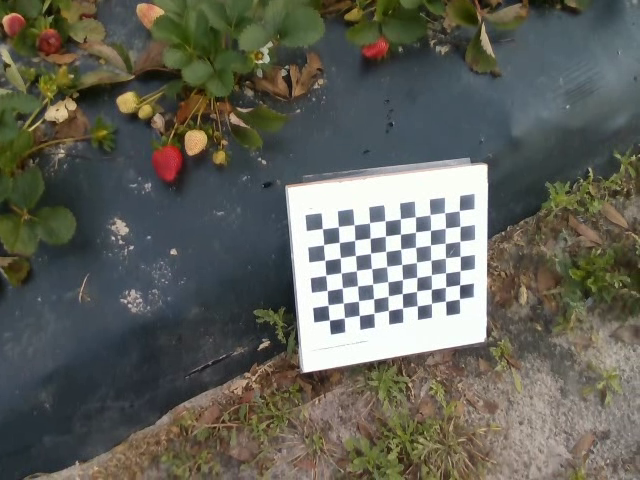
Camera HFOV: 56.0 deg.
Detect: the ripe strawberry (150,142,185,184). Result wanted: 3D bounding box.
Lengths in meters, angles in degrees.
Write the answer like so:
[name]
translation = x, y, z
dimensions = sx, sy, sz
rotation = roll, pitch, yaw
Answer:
[ripe strawberry]
translation = -0.202, -0.101, 0.795
dimensions = 0.050, 0.059, 0.034
rotation = -18, -31, -6
